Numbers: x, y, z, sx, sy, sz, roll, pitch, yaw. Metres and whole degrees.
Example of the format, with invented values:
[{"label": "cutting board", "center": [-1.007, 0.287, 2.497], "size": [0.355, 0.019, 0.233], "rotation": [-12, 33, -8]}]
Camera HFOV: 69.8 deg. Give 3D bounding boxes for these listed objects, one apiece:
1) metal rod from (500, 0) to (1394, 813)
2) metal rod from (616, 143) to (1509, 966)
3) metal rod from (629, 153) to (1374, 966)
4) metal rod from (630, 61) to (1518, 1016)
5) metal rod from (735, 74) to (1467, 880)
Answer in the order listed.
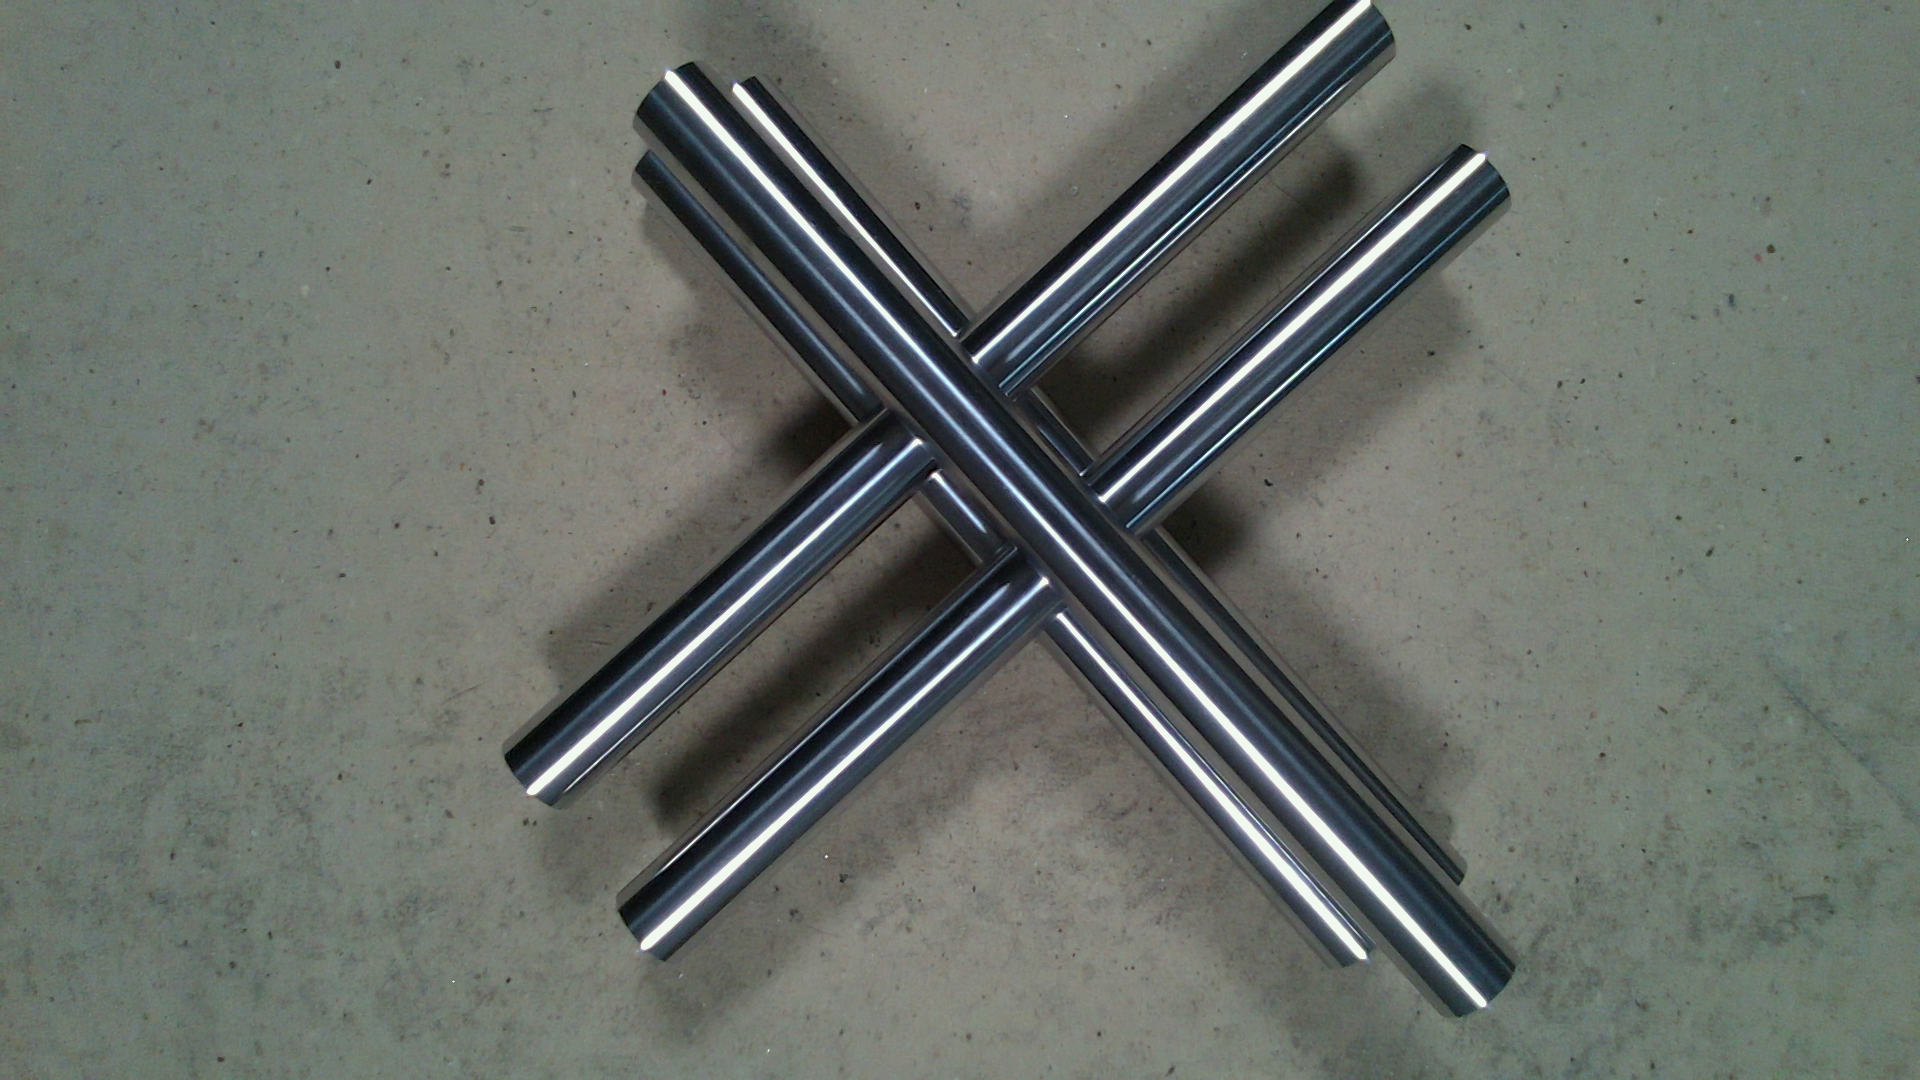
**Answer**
[{"label": "metal rod", "center": [-0.003, -0.037, 0.370], "size": [0.300, 0.025, 0.025], "rotation": [-42, 90, 0]}, {"label": "metal rod", "center": [0.027, 0.004, 0.370], "size": [0.300, 0.025, 0.025], "rotation": [-42, 90, 0]}, {"label": "metal rod", "center": [0.015, 0.002, 0.395], "size": [0.025, 0.025, 0.300], "rotation": [-42, 90, 0]}, {"label": "metal rod", "center": [0.029, 0.000, 0.345], "size": [0.025, 0.025, 0.300], "rotation": [-43, 90, 0]}, {"label": "metal rod", "center": [0.036, -0.012, 0.395], "size": [0.025, 0.025, 0.300], "rotation": [-42, 90, 0]}]
